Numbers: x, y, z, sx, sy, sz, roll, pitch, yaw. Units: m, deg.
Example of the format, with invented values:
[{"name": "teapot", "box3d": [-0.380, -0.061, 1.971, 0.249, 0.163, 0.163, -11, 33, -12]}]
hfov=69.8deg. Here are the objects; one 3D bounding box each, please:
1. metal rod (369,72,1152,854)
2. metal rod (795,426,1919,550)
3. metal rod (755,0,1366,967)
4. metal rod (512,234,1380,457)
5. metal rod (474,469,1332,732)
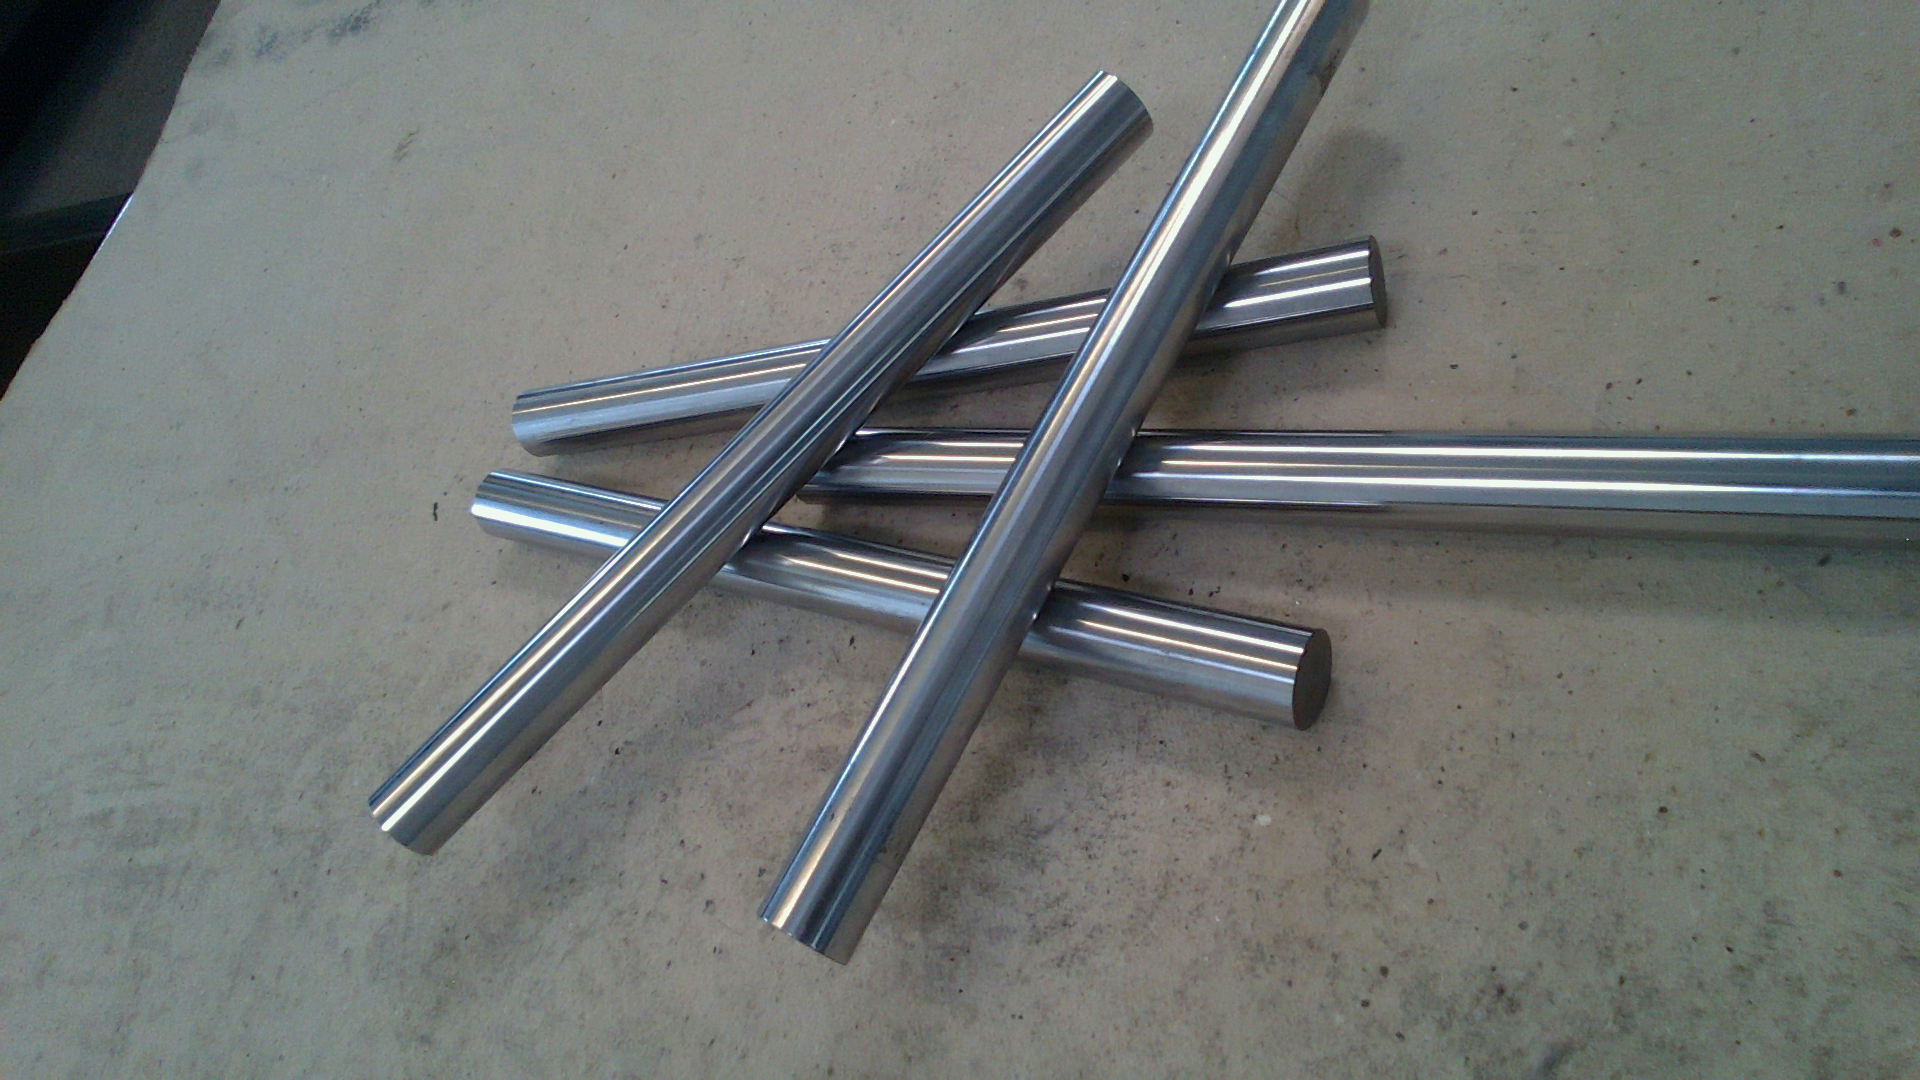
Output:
[{"name": "metal rod", "box3d": [-0.056, -0.025, 0.407, 0.300, 0.025, 0.025, -45, 51, -4]}, {"name": "metal rod", "box3d": [0.082, -0.017, 0.360, 0.299, 0.025, 0.025, 3, 63, 30]}, {"name": "metal rod", "box3d": [0.034, -0.032, 0.363, 0.025, 0.025, 0.300, 19, 72, 36]}, {"name": "metal rod", "box3d": [-0.021, -0.057, 0.440, 0.299, 0.025, 0.025, -6, 59, 25]}, {"name": "metal rod", "box3d": [-0.039, 0.010, 0.409, 0.299, 0.025, 0.025, 11, 67, 33]}]
